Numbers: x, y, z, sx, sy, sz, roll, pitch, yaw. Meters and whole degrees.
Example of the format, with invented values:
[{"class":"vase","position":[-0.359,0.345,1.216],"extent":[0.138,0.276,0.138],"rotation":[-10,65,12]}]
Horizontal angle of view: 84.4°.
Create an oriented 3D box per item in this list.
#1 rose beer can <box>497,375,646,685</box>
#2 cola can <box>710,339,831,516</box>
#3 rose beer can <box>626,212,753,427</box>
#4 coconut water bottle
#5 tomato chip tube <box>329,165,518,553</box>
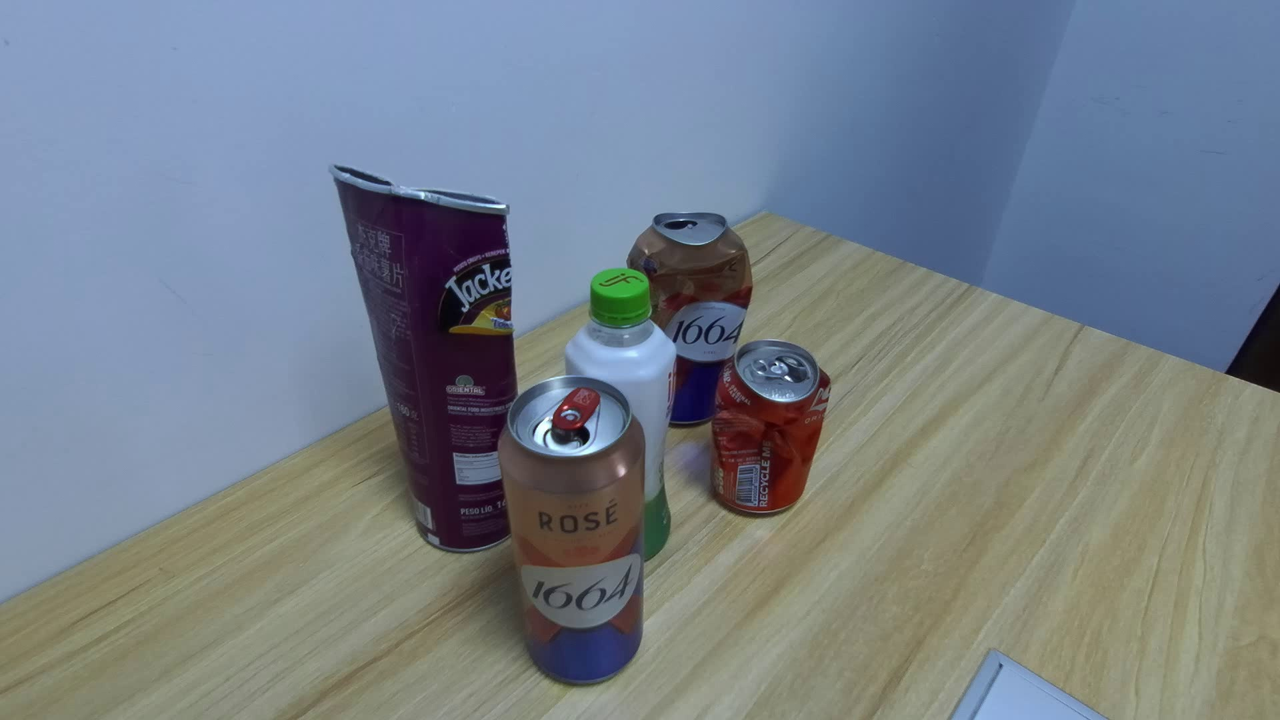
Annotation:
[{"class":"rose beer can","position":[-0.031,0.094,0.363],"extent":[0.068,0.169,0.068],"rotation":[1,36,-1]},{"class":"cola can","position":[0.081,0.046,0.469],"extent":[0.069,0.112,0.066],"rotation":[18,41,22]},{"class":"rose beer can","position":[0.036,-0.027,0.526],"extent":[0.074,0.162,0.067],"rotation":[-26,41,-33]},{"class":"coconut water bottle","position":[-0.011,0.037,0.417],"extent":[0.063,0.189,0.063],"rotation":[-1,35,1]},{"class":"tomato chip tube","position":[-0.111,0.009,0.417],"extent":[0.078,0.236,0.089],"rotation":[-13,37,-18]}]
